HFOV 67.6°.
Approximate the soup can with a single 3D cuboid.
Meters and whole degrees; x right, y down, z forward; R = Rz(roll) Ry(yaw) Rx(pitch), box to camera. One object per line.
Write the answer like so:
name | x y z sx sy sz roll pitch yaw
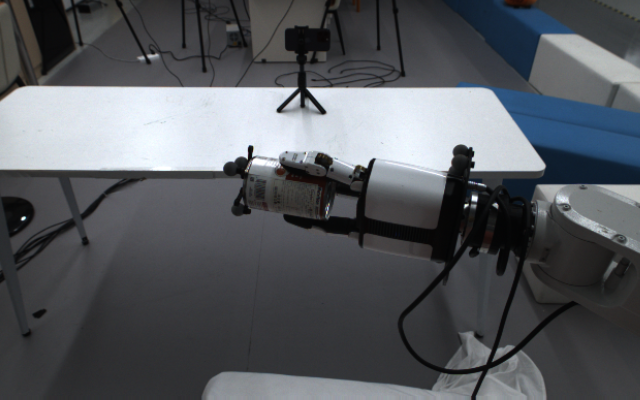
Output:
soup can | -0.033 -0.015 0.594 0.101 0.067 0.067 9 35 9
